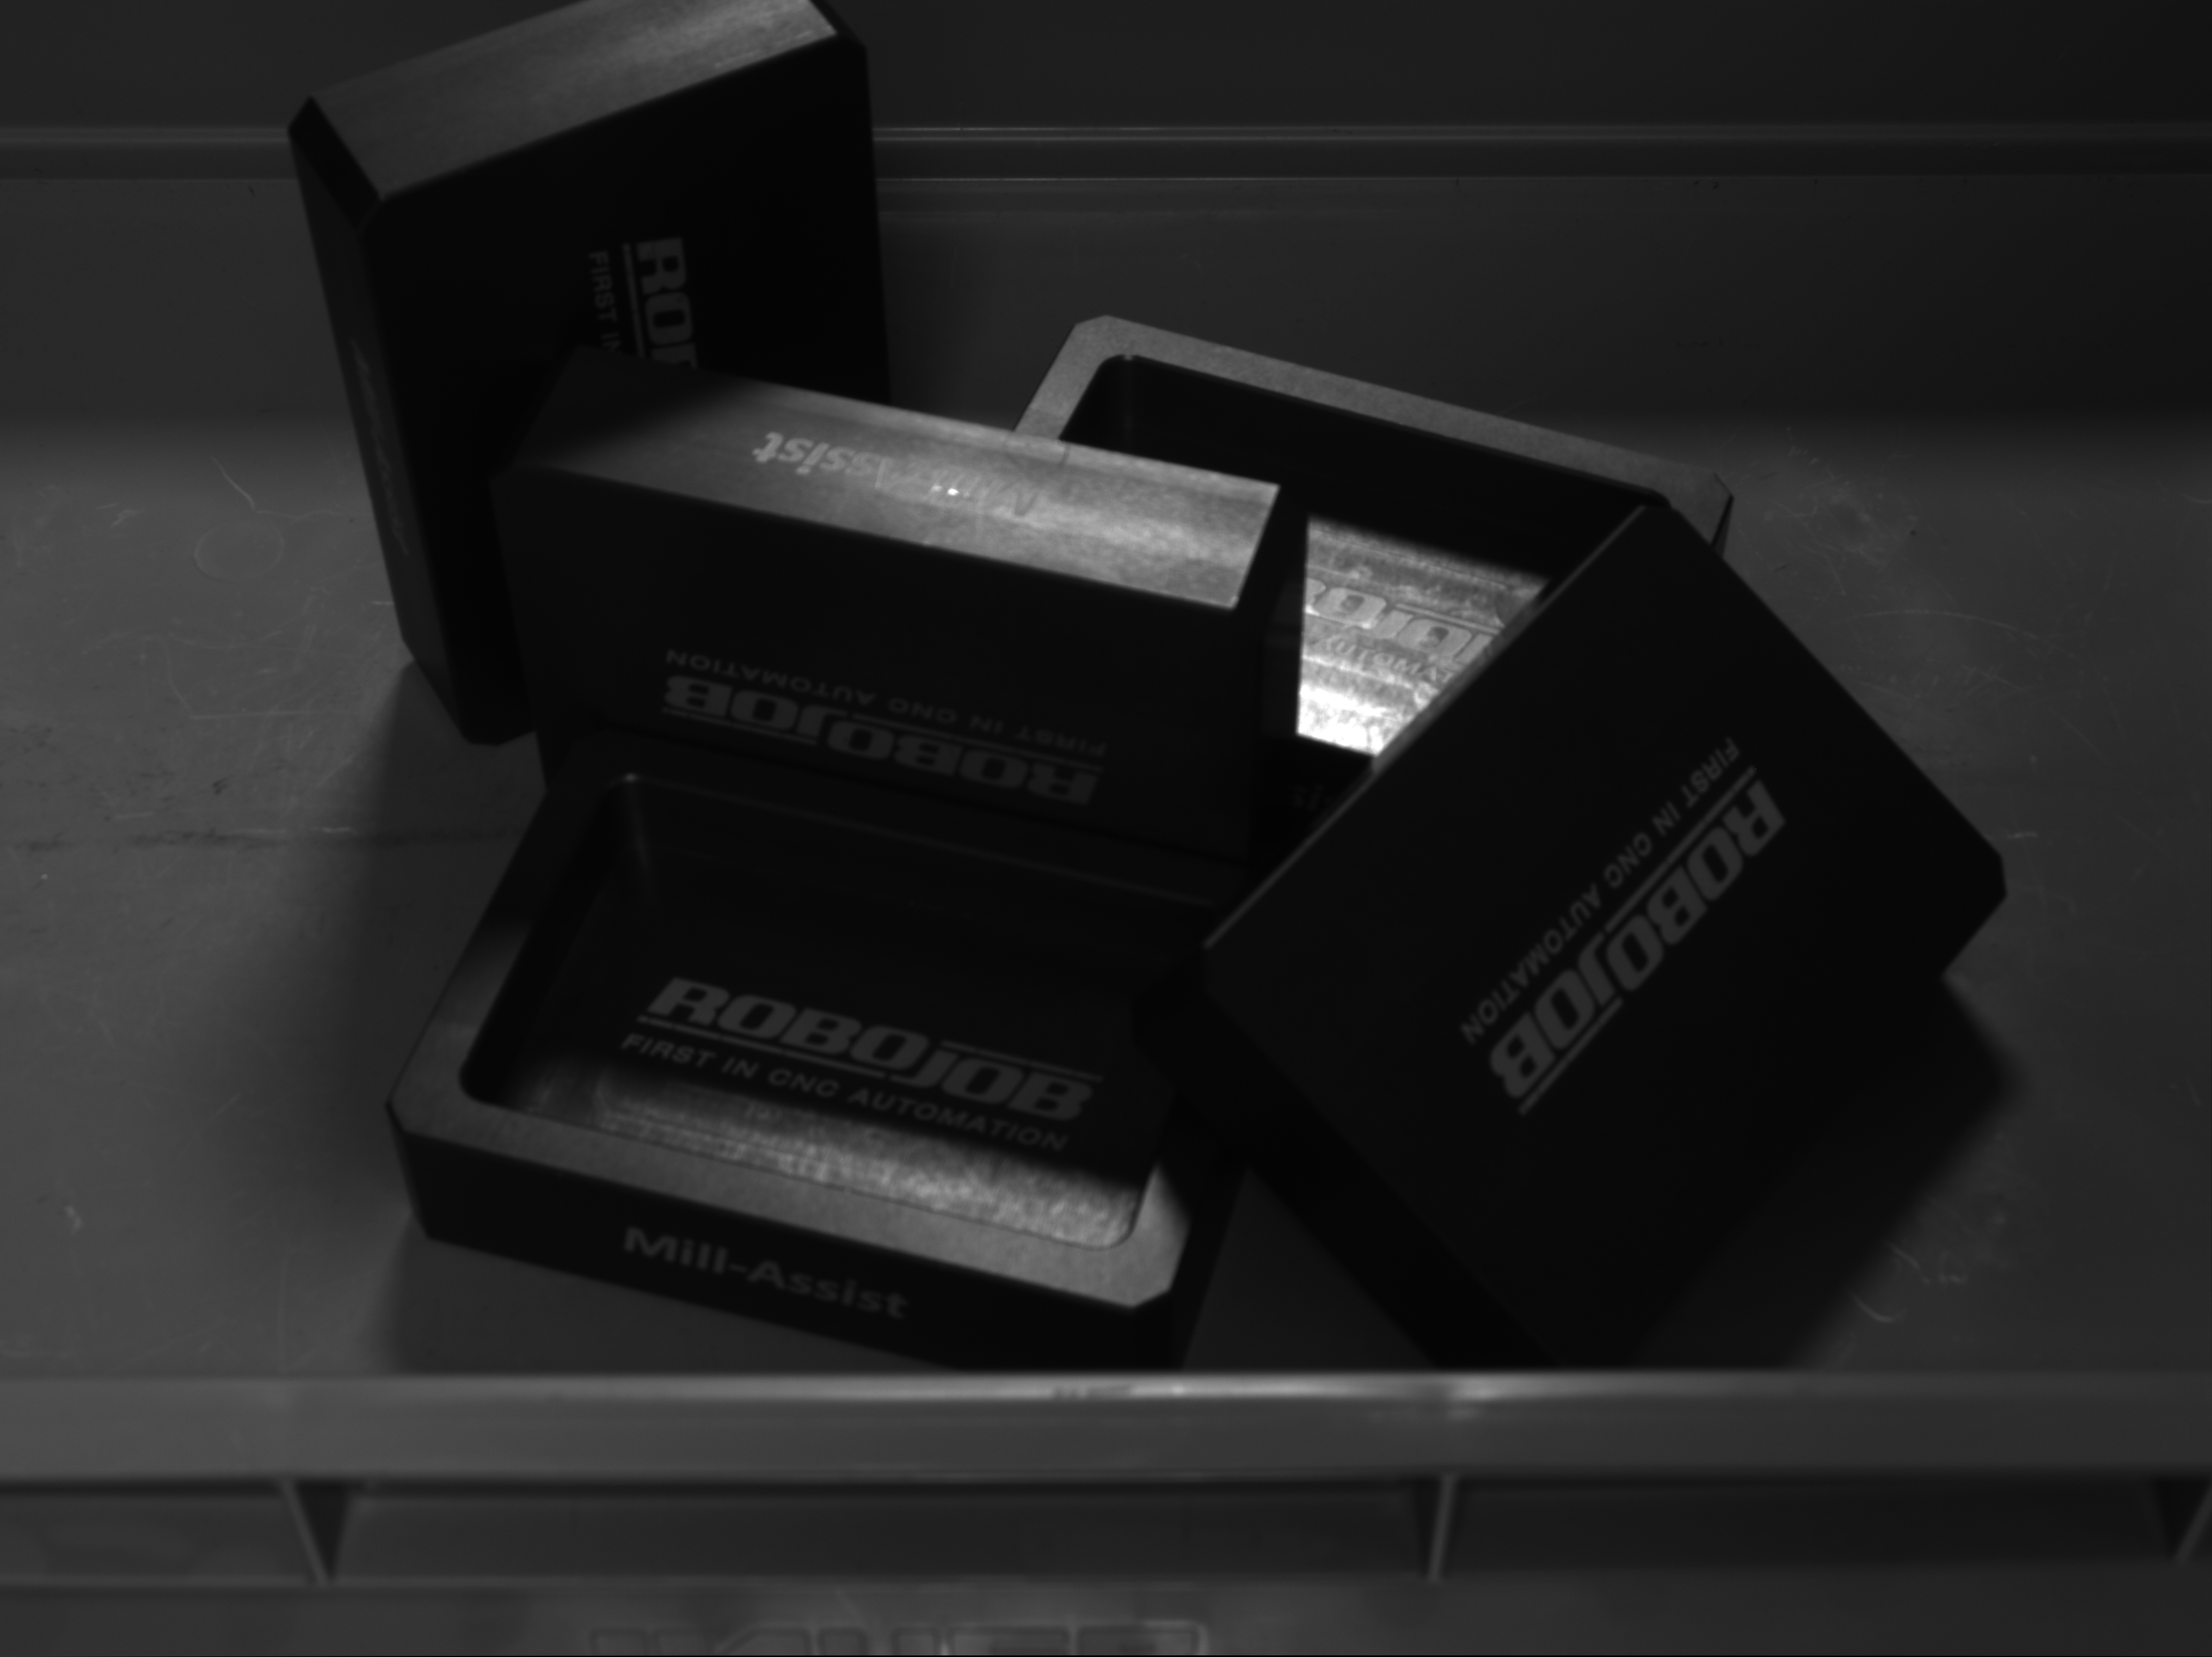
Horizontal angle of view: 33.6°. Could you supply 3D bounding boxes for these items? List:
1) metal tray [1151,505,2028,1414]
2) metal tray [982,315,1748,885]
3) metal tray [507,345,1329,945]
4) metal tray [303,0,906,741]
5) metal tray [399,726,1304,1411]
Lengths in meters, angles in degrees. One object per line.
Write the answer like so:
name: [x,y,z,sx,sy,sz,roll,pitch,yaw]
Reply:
metal tray: [0.081,0.019,0.595,0.090,0.030,0.130,47,60,0]
metal tray: [0.043,-0.041,0.672,0.130,0.030,0.090,16,52,13]
metal tray: [-0.030,-0.028,0.620,0.130,0.090,0.030,12,51,10]
metal tray: [-0.082,-0.082,0.640,0.090,0.130,0.030,-24,54,-18]
metal tray: [-0.038,0.037,0.604,0.130,0.030,0.090,12,51,10]
